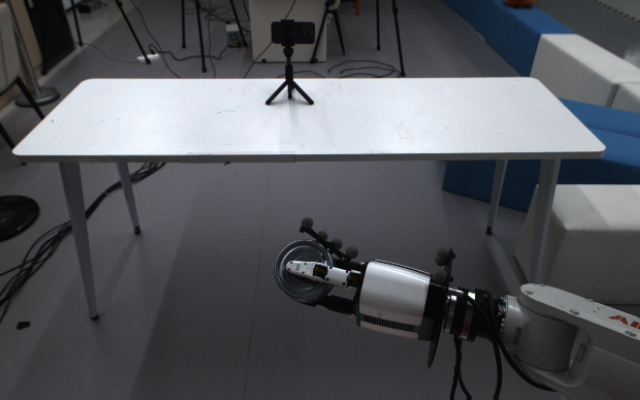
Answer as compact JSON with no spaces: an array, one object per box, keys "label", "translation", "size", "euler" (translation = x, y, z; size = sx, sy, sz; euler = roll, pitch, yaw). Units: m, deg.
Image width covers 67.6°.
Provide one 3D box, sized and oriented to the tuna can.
[{"label":"tuna can","translation":[-0.017,0.106,0.678],"size":[0.085,0.034,0.085],"euler":[-4,69,10]}]
